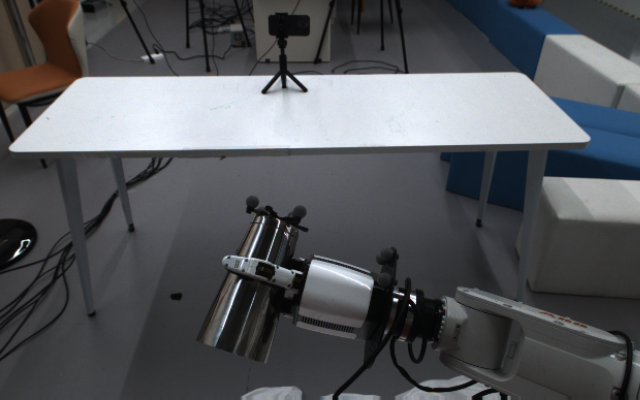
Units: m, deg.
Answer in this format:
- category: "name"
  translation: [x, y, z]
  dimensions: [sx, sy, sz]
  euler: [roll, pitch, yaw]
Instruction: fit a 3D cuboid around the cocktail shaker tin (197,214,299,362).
- category: "cocktail shaker tin"
  translation: [-0.085, 0.110, 0.619]
  dimensions: [0.093, 0.093, 0.170]
  euler: [13, 70, 15]
